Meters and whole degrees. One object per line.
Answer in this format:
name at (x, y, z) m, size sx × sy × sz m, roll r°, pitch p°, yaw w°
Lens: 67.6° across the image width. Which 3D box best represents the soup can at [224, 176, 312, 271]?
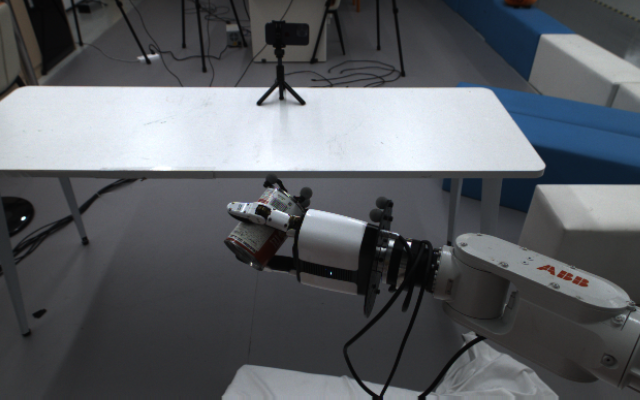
soup can at (-0.076, 0.039, 0.681) m, size 0.067 × 0.067 × 0.101 m, roll 25°, pitch 66°, yaw 30°
